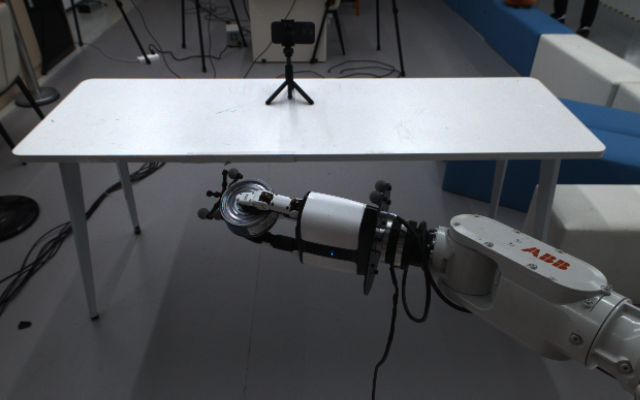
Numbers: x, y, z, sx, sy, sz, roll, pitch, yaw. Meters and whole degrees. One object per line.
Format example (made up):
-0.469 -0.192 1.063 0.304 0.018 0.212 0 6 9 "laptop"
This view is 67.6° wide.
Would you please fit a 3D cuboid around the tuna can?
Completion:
-0.104 0.010 0.723 0.085 0.034 0.085 -3 59 5 "tuna can"
